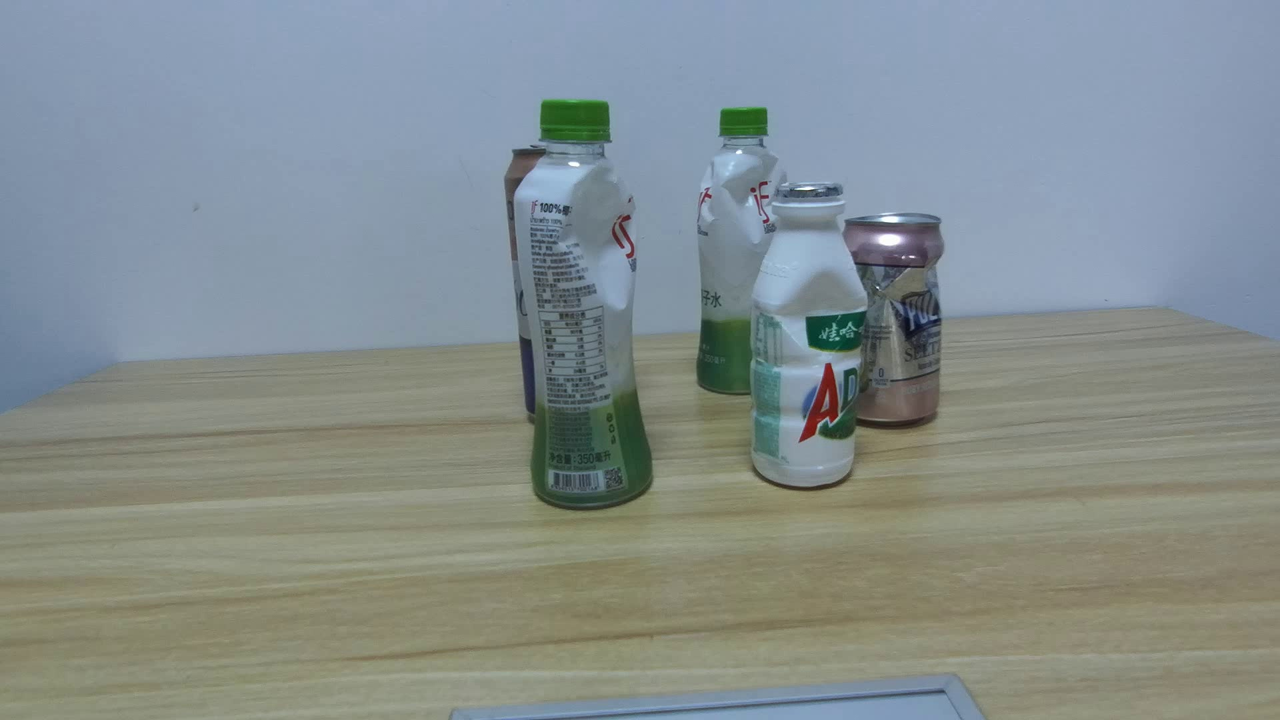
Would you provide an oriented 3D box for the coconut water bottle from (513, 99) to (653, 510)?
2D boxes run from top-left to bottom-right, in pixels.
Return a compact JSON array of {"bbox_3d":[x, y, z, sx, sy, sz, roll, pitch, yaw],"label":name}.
[{"bbox_3d":[-0.028,-0.026,0.344,0.069,0.187,0.069,-2,13,1],"label":"coconut water bottle"}]
